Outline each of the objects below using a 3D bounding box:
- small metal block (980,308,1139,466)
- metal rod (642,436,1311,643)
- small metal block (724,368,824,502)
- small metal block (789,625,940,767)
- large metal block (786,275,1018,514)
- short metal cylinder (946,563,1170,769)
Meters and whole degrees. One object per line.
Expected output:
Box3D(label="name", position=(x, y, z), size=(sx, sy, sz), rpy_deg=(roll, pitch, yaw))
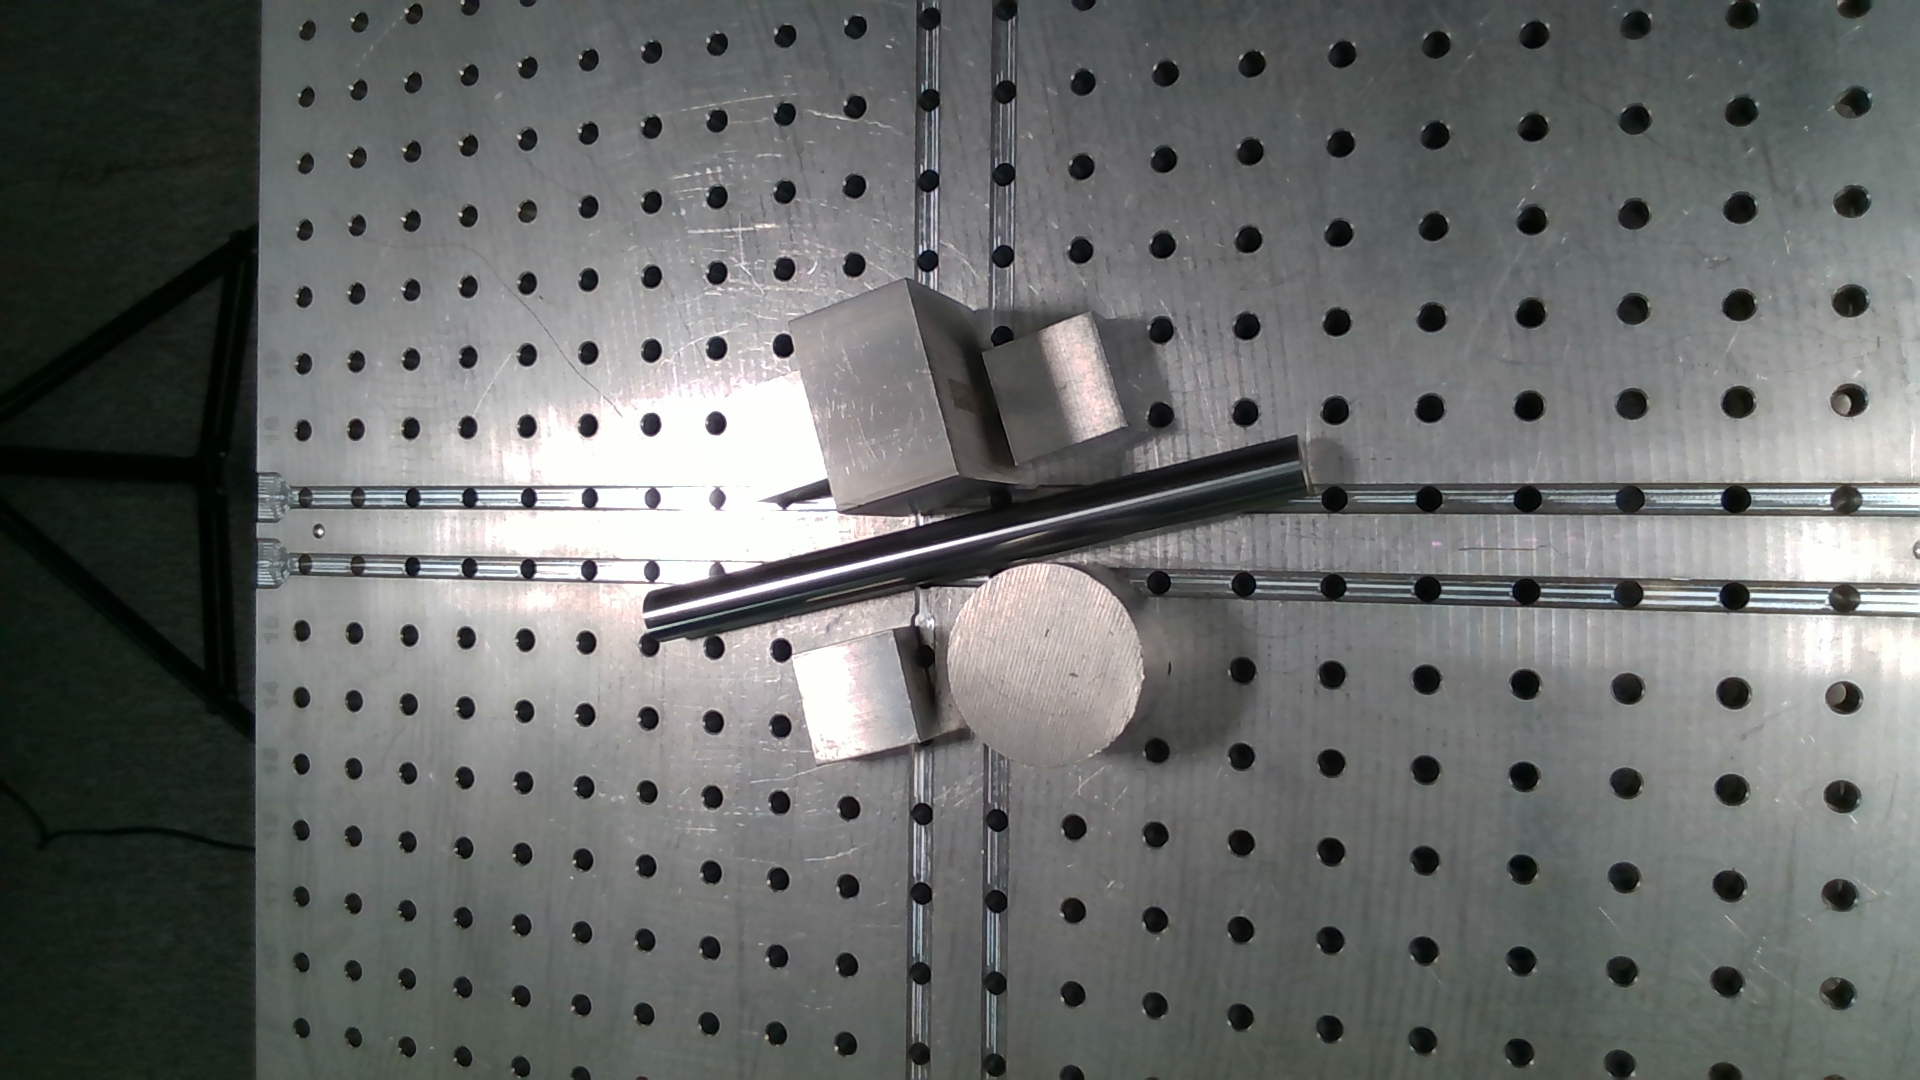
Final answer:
Box3D(label="small metal block", position=(0.042, -0.062, 0.572), size=(0.050, 0.025, 0.050), rpy_deg=(-19, 84, 19))
Box3D(label="metal rod", position=(-0.003, 0.003, 0.589), size=(0.300, 0.025, 0.025), rpy_deg=(-13, 86, 20))
Box3D(label="small metal block", position=(-0.072, -0.047, 0.614), size=(0.050, 0.025, 0.050), rpy_deg=(-17, 85, 20))
Box3D(label="small metal block", position=(-0.042, 0.068, 0.604), size=(0.050, 0.025, 0.050), rpy_deg=(-16, 85, 20))
Box3D(label="large metal block", position=(-0.022, -0.055, 0.565), size=(0.050, 0.080, 0.080), rpy_deg=(-17, 85, 20))
Box3D(label="short metal cylinder", position=(0.041, 0.049, 0.560), size=(0.080, 0.050, 0.080), rpy_deg=(0, 90, 20))
